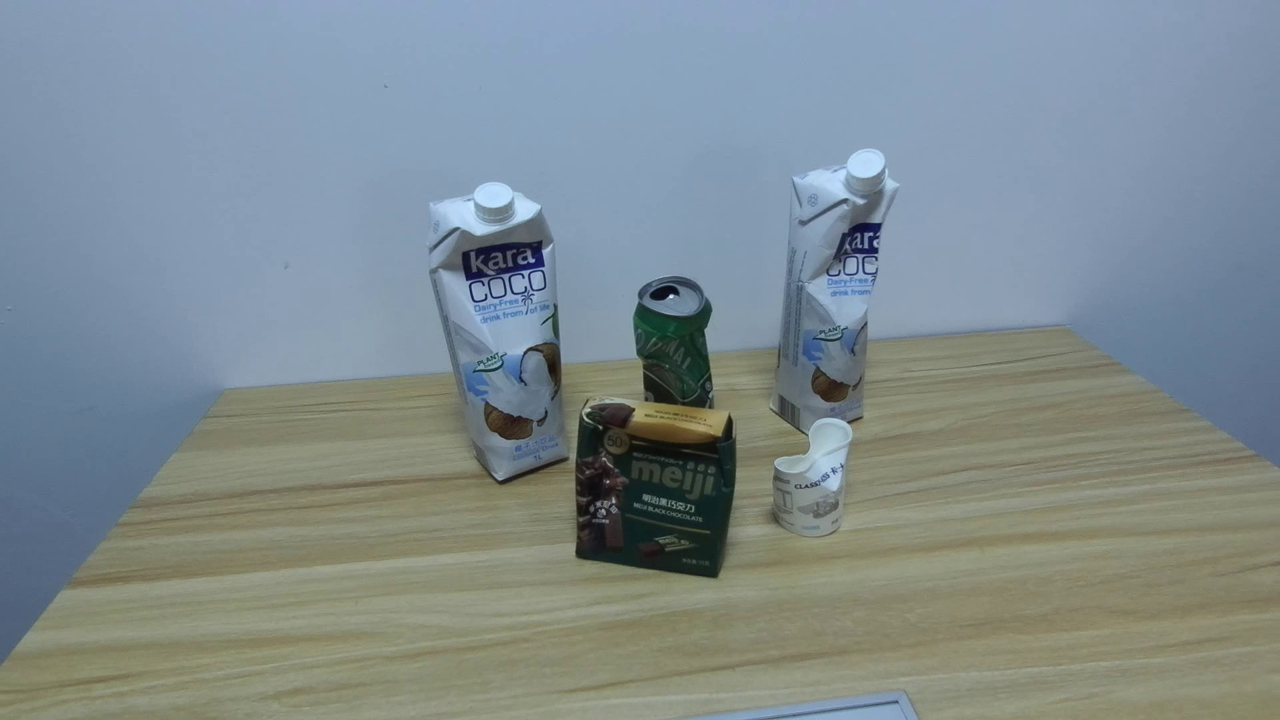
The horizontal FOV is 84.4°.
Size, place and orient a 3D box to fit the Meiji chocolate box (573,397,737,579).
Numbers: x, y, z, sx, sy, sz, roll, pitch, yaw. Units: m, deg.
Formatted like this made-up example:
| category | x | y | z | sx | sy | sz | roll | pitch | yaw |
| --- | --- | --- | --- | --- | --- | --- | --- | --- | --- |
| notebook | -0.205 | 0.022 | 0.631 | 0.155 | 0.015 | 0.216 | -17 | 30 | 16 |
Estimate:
| category | x | y | z | sx | sy | sz | roll | pitch | yaw |
| --- | --- | --- | --- | --- | --- | --- | --- | --- | --- |
| Meiji chocolate box | 0.010 | 0.091 | 0.516 | 0.113 | 0.110 | 0.058 | 5 | 15 | 13 |

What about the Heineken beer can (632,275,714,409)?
| category | x | y | z | sx | sy | sz | roll | pitch | yaw |
| --- | --- | --- | --- | --- | --- | --- | --- | --- | --- |
| Heineken beer can | 0.031 | 0.008 | 0.614 | 0.067 | 0.159 | 0.078 | -5 | 33 | -1 |

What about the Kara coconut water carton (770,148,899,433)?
| category | x | y | z | sx | sy | sz | roll | pitch | yaw |
| --- | --- | --- | --- | --- | --- | --- | --- | --- | --- |
| Kara coconut water carton | 0.167 | -0.058 | 0.621 | 0.083 | 0.256 | 0.078 | -9 | 30 | -14 |

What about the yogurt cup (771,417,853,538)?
| category | x | y | z | sx | sy | sz | roll | pitch | yaw |
| --- | --- | --- | --- | --- | --- | --- | --- | --- | --- |
| yogurt cup | 0.129 | 0.091 | 0.538 | 0.053 | 0.071 | 0.075 | 5 | 29 | 15 |

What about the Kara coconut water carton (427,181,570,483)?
| category | x | y | z | sx | sy | sz | roll | pitch | yaw |
| --- | --- | --- | --- | --- | --- | --- | --- | --- | --- |
| Kara coconut water carton | -0.111 | -0.024 | 0.587 | 0.100 | 0.244 | 0.071 | -21 | 31 | -27 |
